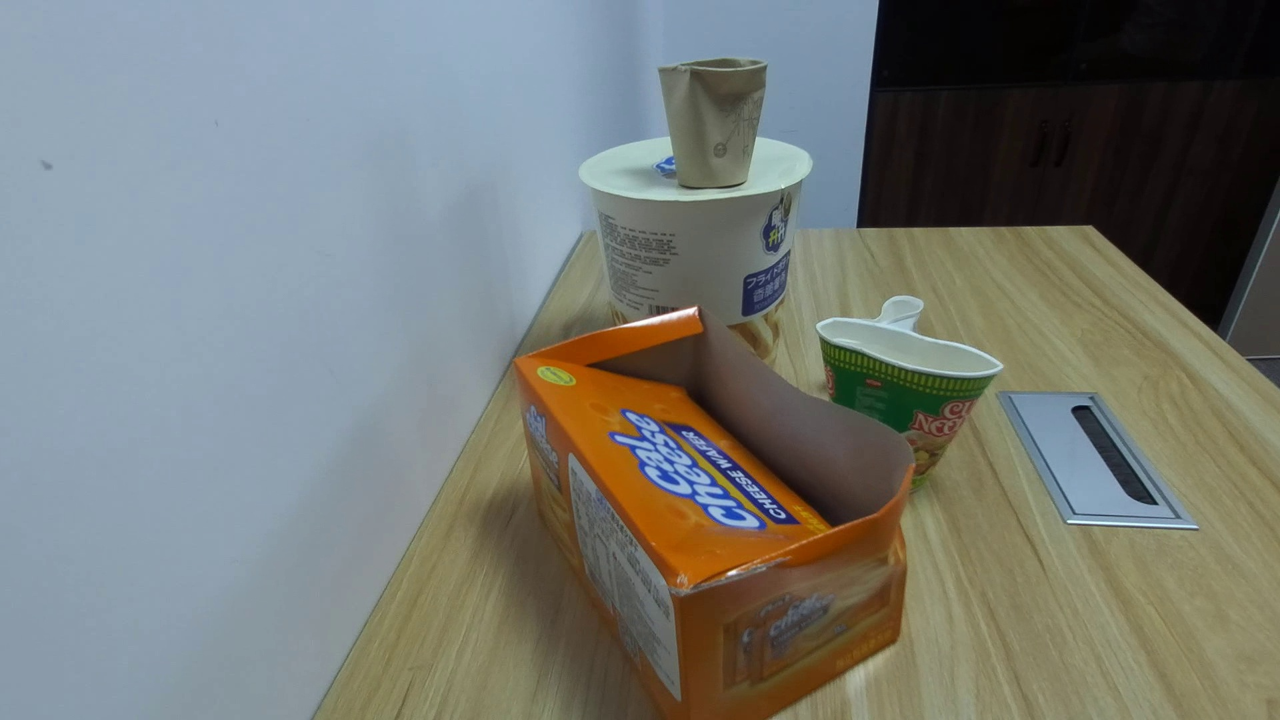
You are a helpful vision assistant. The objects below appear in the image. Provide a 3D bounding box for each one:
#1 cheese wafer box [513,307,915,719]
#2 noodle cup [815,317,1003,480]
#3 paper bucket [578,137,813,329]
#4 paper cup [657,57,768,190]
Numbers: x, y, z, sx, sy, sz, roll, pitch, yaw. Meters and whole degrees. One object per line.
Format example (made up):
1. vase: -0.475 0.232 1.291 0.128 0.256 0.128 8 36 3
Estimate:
1. cheese wafer box: 0.038 0.082 0.426 0.153 0.132 0.229 -17 32 -22
2. noodle cup: 0.178 0.031 0.501 0.070 0.111 0.114 -23 37 -24
3. paper bucket: 0.050 -0.077 0.621 0.198 0.195 0.198 -2 31 2
4. paper cup: 0.054 -0.174 0.519 0.066 0.084 0.071 -14 27 -19
